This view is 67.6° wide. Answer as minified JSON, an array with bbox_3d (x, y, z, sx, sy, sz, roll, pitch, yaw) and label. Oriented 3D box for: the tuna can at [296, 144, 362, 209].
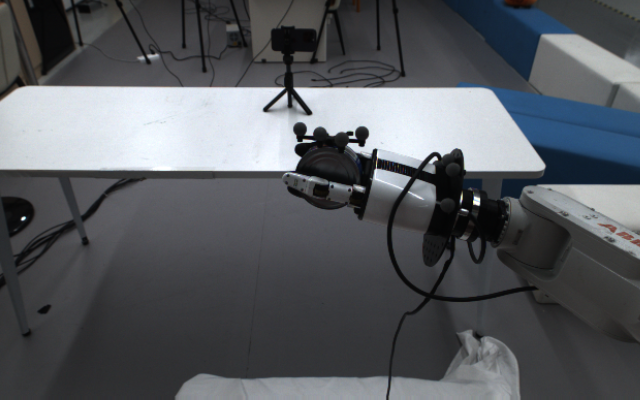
[{"bbox_3d":[0.013,-0.033,0.634,0.085,0.085,0.034,9,23,10],"label":"tuna can"}]
